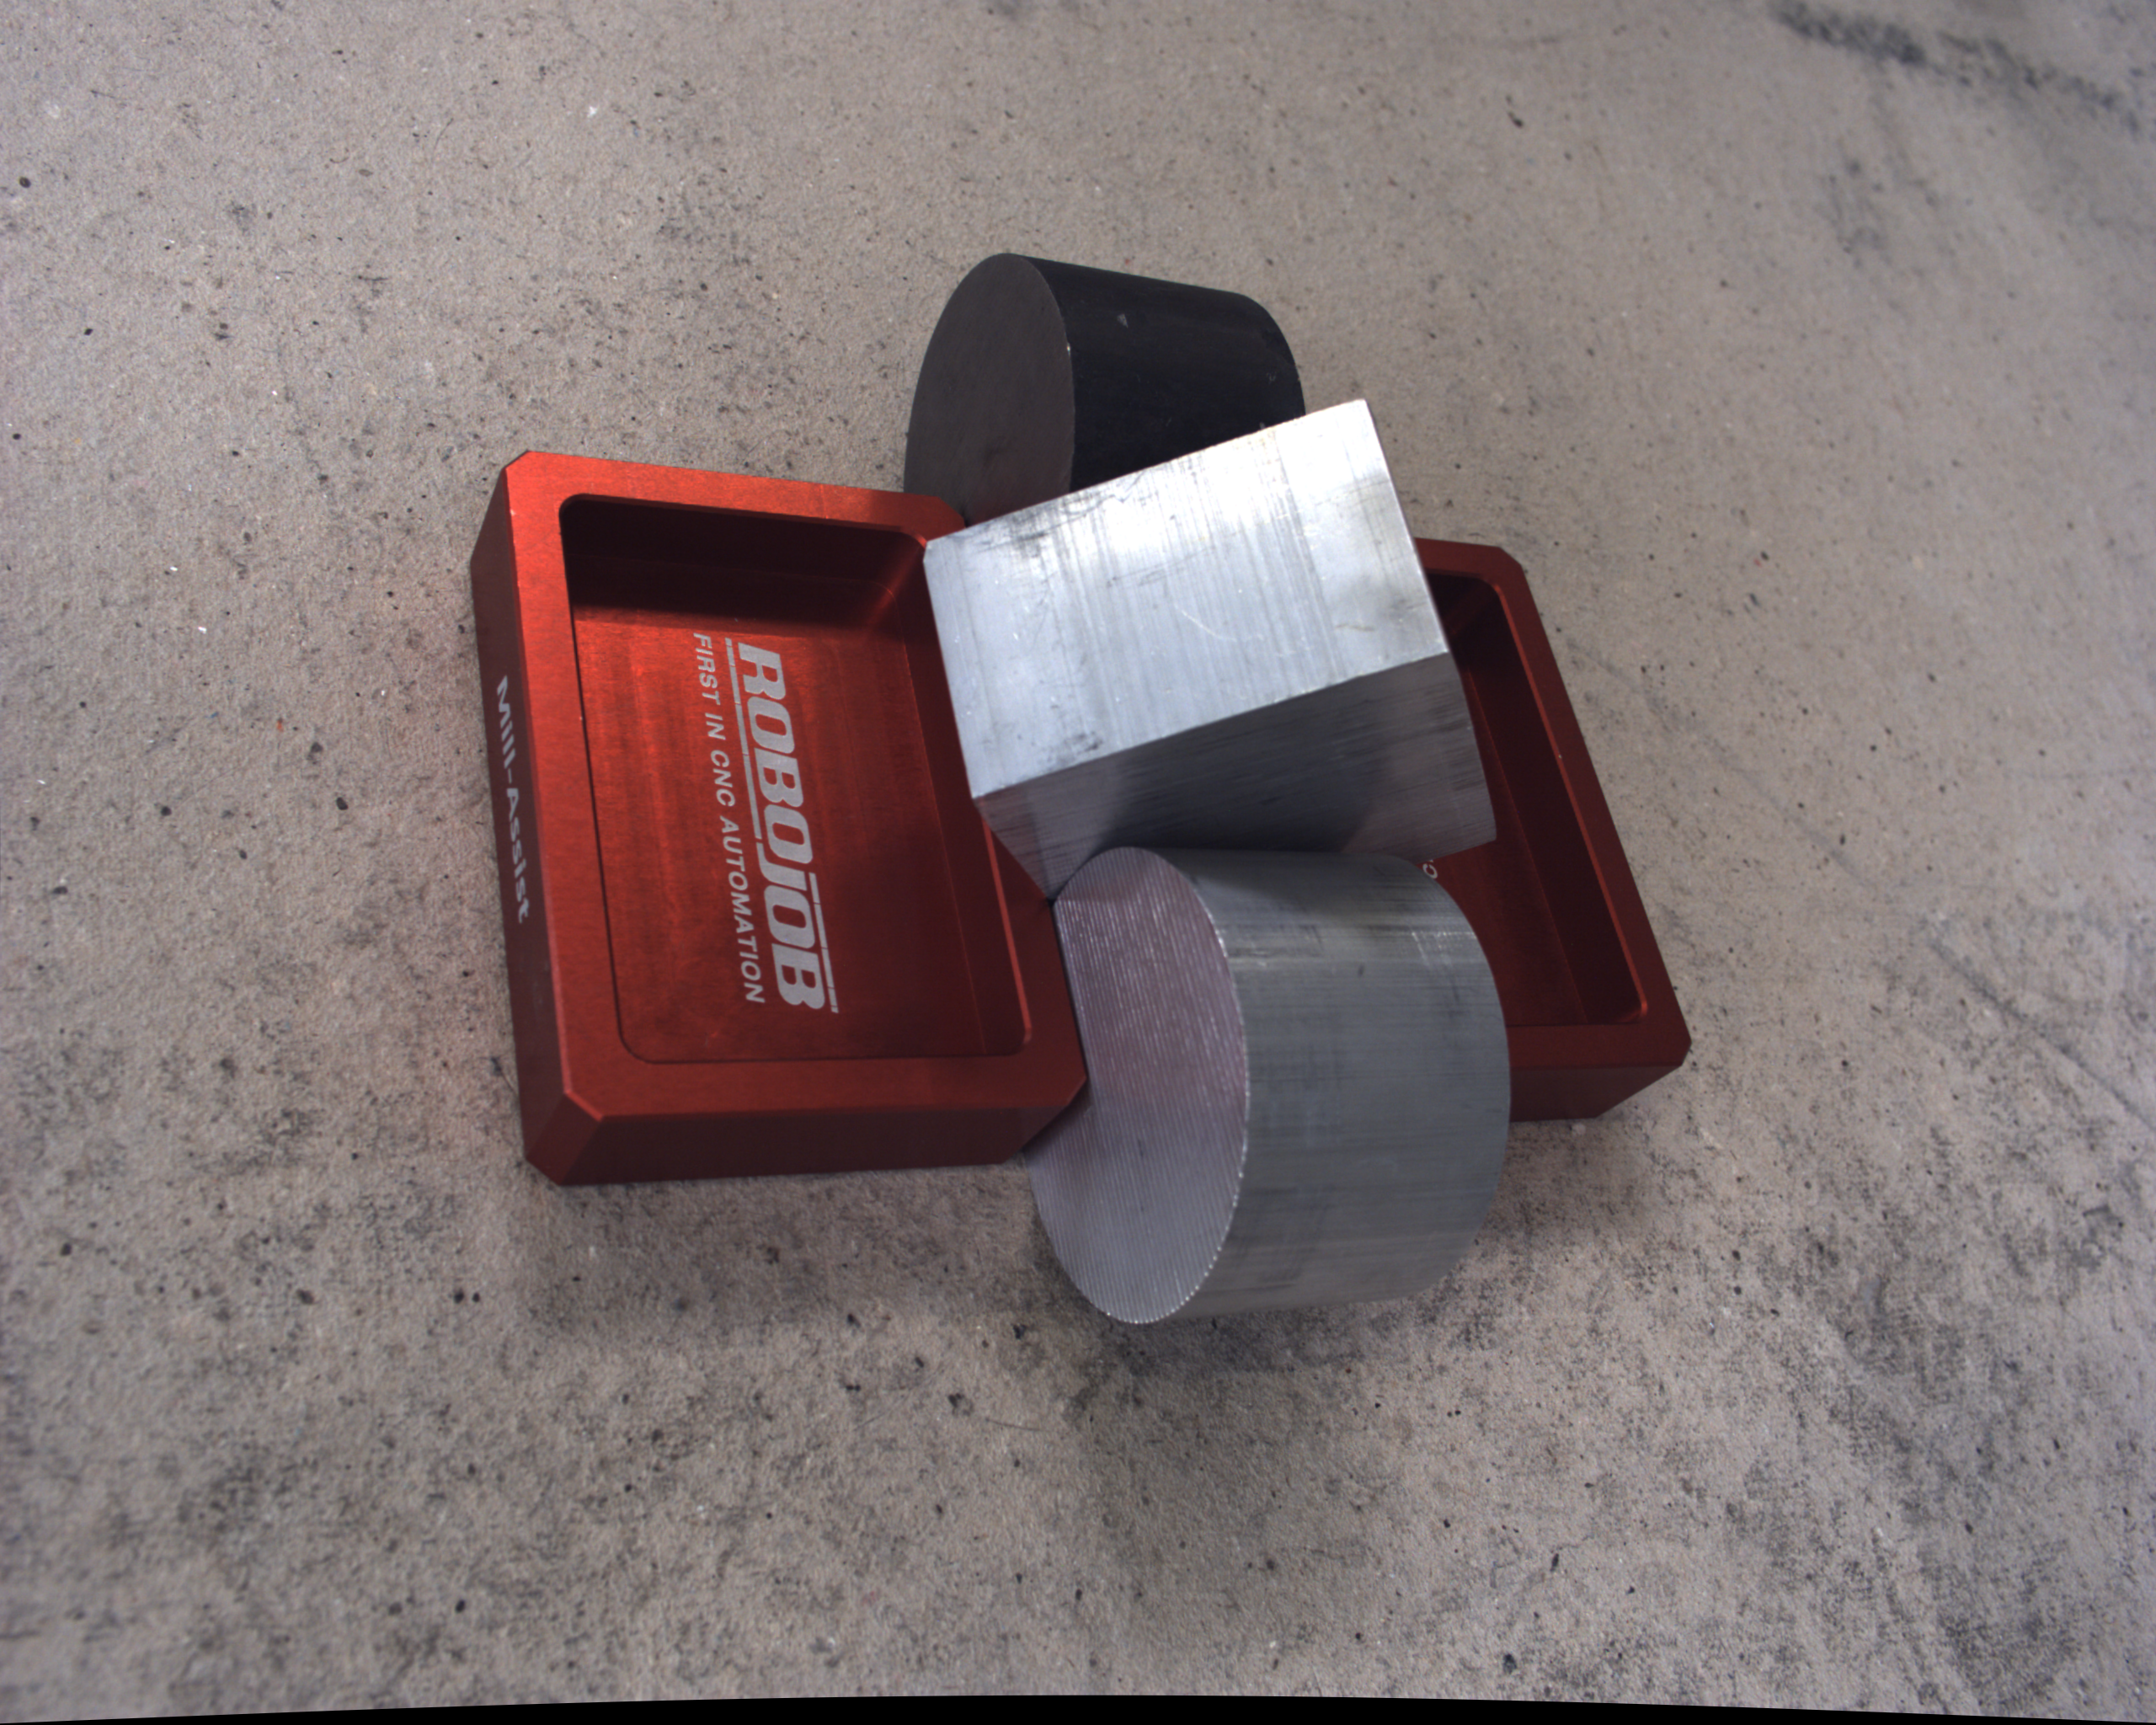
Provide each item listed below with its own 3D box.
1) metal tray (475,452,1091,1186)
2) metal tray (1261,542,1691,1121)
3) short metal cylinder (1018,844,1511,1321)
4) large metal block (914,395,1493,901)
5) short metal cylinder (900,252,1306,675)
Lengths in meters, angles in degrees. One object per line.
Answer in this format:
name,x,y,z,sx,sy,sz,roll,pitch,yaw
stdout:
metal tray,-0.056,-0.010,0.378,0.091,0.030,0.130,2,61,-28
metal tray,0.068,-0.010,0.445,0.091,0.030,0.130,2,61,-28
short metal cylinder,0.030,0.037,0.363,0.050,0.080,0.080,2,61,-27
large metal block,0.025,-0.029,0.375,0.080,0.080,0.050,-17,65,9
short metal cylinder,0.003,-0.078,0.419,0.050,0.080,0.080,2,61,-27
